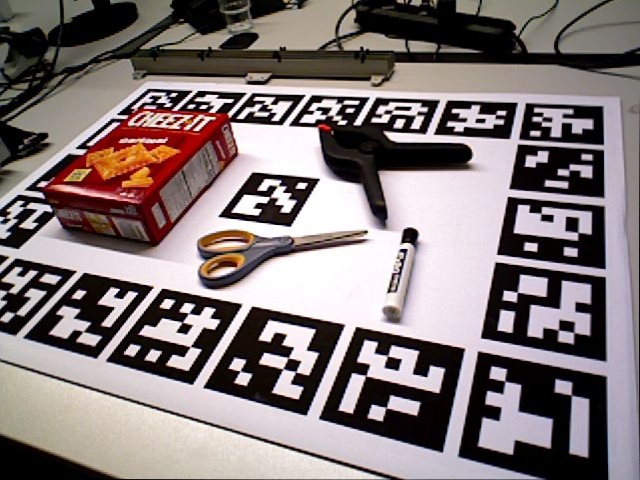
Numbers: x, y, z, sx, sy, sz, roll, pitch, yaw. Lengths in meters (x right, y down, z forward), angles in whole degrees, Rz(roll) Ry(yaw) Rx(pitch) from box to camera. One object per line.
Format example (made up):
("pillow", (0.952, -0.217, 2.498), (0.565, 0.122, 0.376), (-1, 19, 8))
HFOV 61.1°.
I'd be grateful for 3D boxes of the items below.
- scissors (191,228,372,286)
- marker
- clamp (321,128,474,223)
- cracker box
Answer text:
("scissors", (-0.042, 0.005, 0.604), (0.202, 0.016, 0.086), (-10, 39, -2))
("marker", (0.088, 0.025, 0.547), (0.020, 0.020, 0.118), (5, 42, 19))
("clamp", (0.070, -0.104, 0.711), (0.162, 0.037, 0.203), (-32, 45, -24))
("cracker box", (-0.233, -0.094, 0.727), (0.165, 0.073, 0.208), (9, 44, 22))
